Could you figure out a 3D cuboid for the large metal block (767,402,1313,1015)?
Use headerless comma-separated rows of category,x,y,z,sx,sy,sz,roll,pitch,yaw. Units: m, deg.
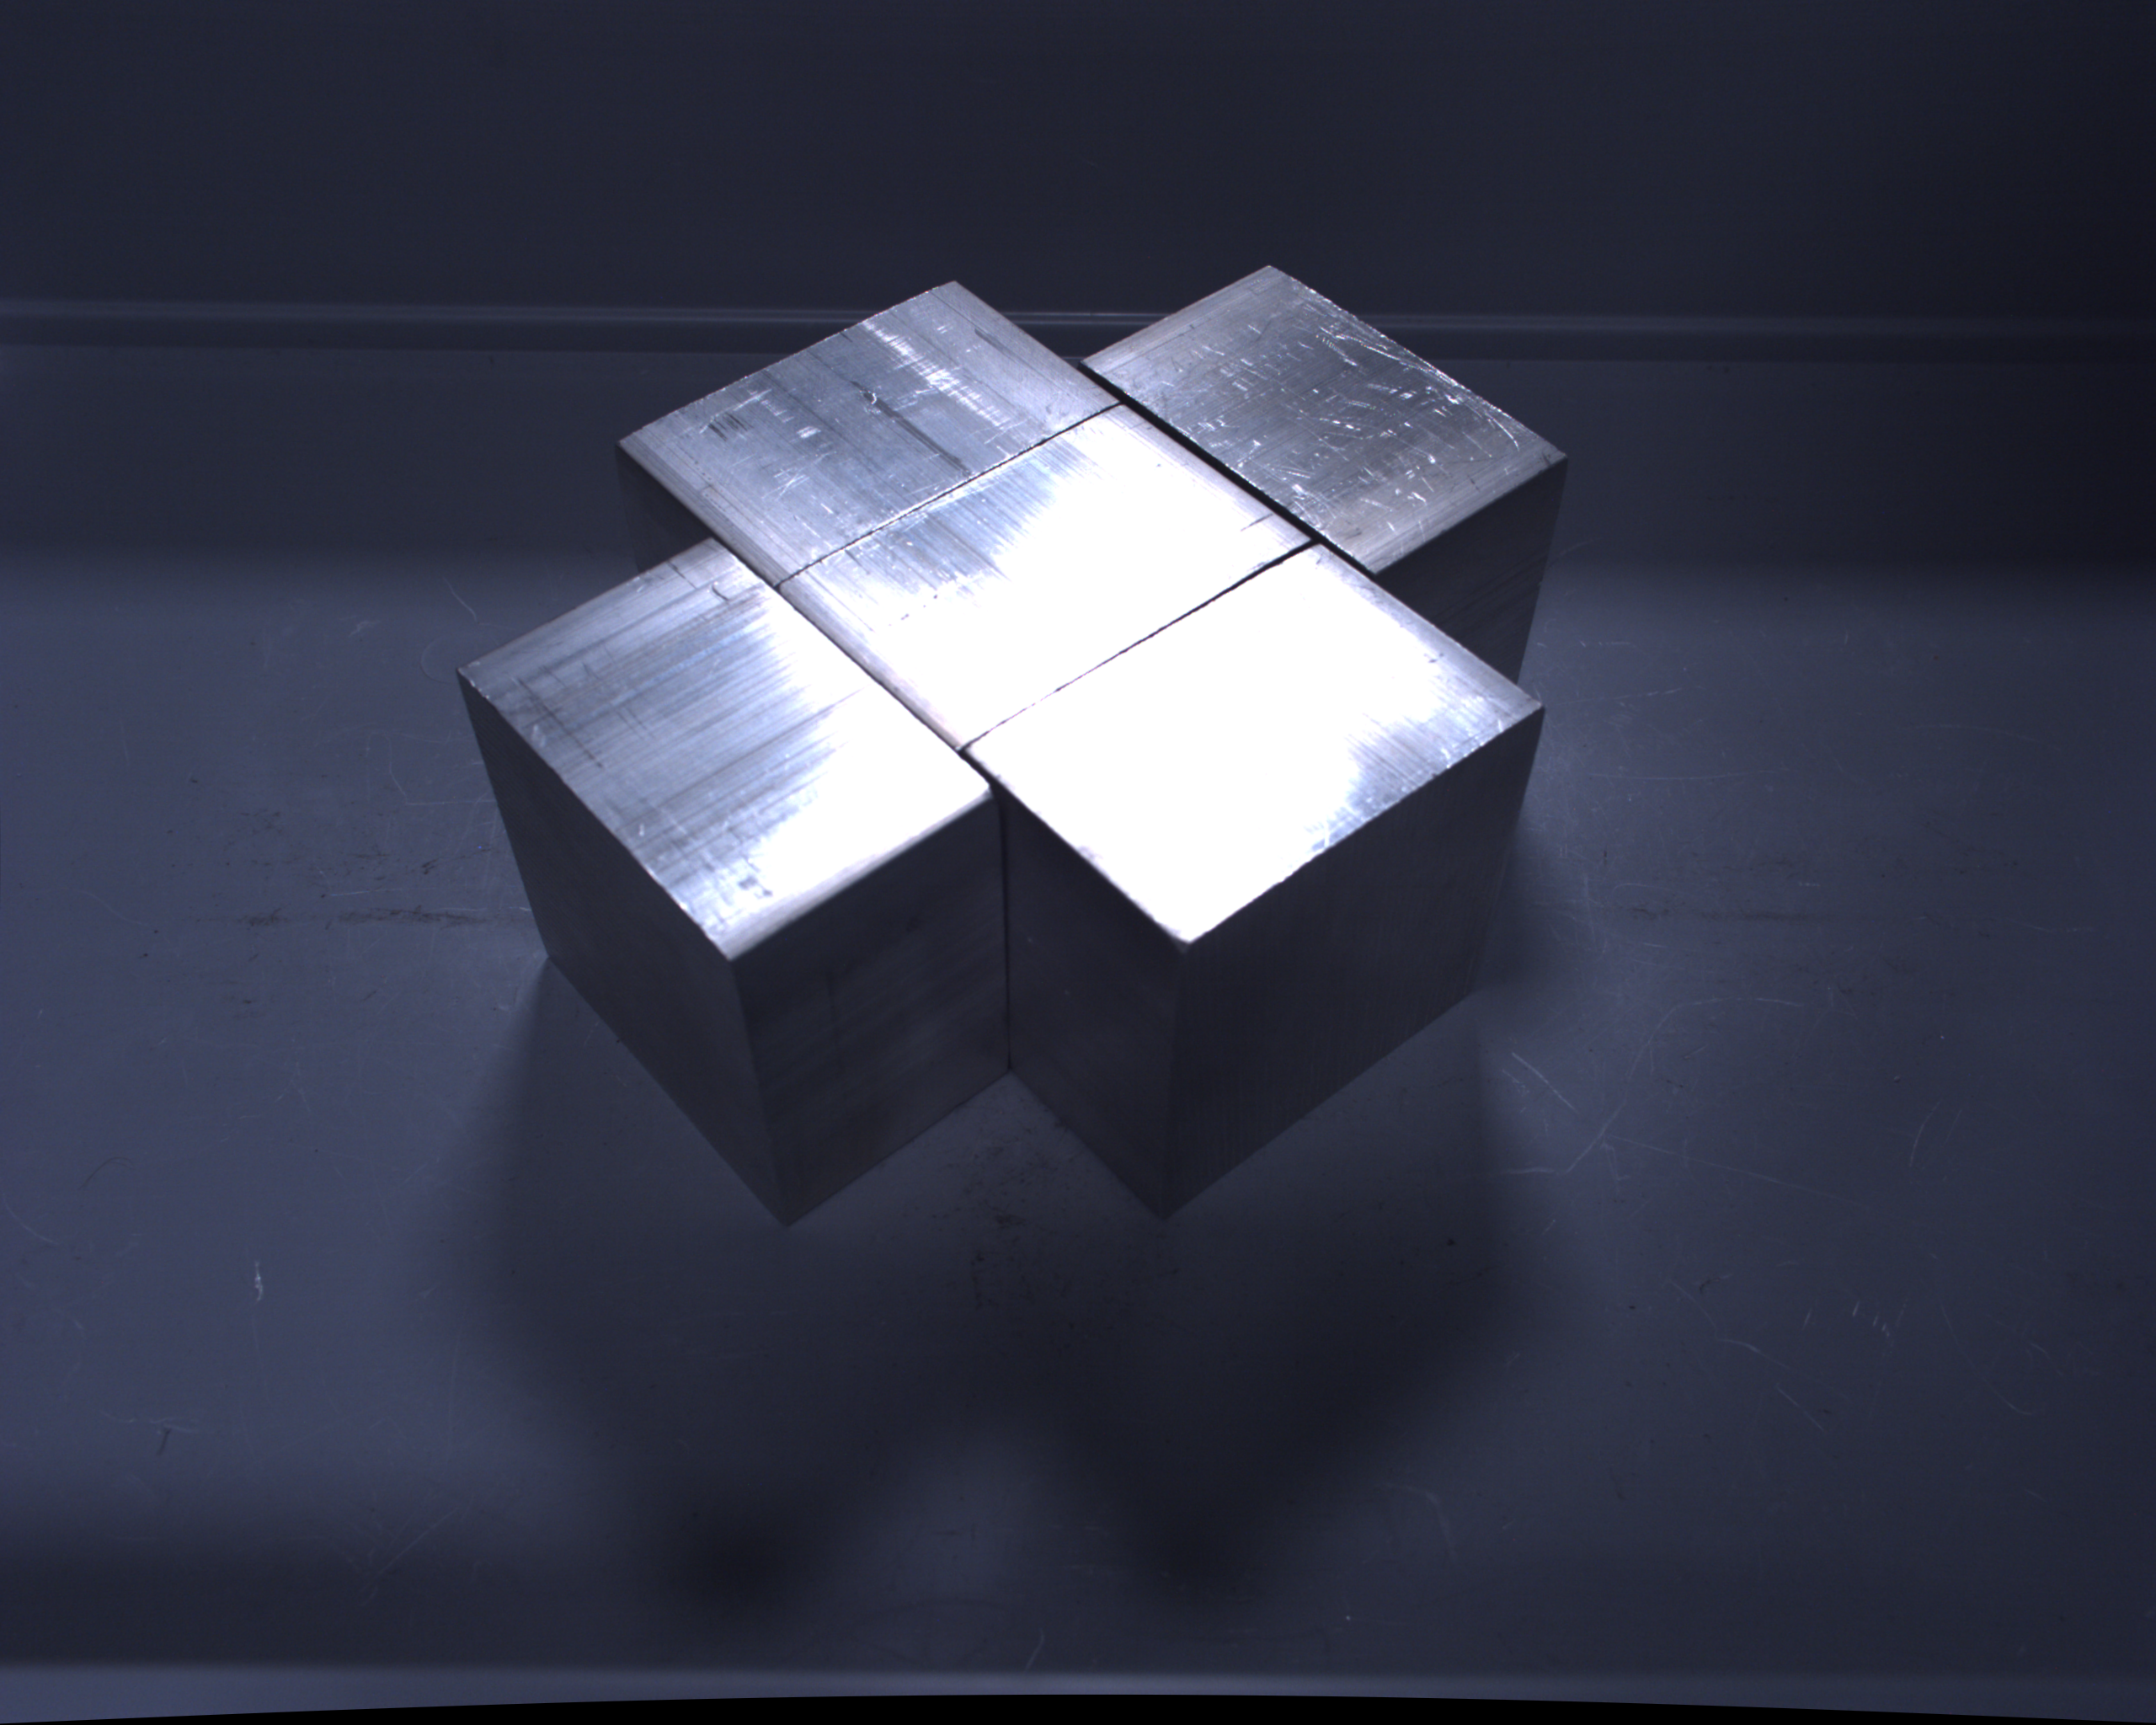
large metal block,-0.006,-0.026,0.390,0.080,0.080,0.050,-33,58,-25

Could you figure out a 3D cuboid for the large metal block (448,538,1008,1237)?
large metal block,-0.058,0.004,0.364,0.050,0.080,0.080,-34,58,-25

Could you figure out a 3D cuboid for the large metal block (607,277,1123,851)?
large metal block,-0.039,-0.056,0.414,0.080,0.080,0.050,-33,58,-25

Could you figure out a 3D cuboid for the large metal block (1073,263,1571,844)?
large metal block,0.044,-0.059,0.419,0.050,0.080,0.080,-34,58,-25

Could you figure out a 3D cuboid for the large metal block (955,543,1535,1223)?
large metal block,0.027,0.004,0.366,0.080,0.080,0.050,-33,58,-25
